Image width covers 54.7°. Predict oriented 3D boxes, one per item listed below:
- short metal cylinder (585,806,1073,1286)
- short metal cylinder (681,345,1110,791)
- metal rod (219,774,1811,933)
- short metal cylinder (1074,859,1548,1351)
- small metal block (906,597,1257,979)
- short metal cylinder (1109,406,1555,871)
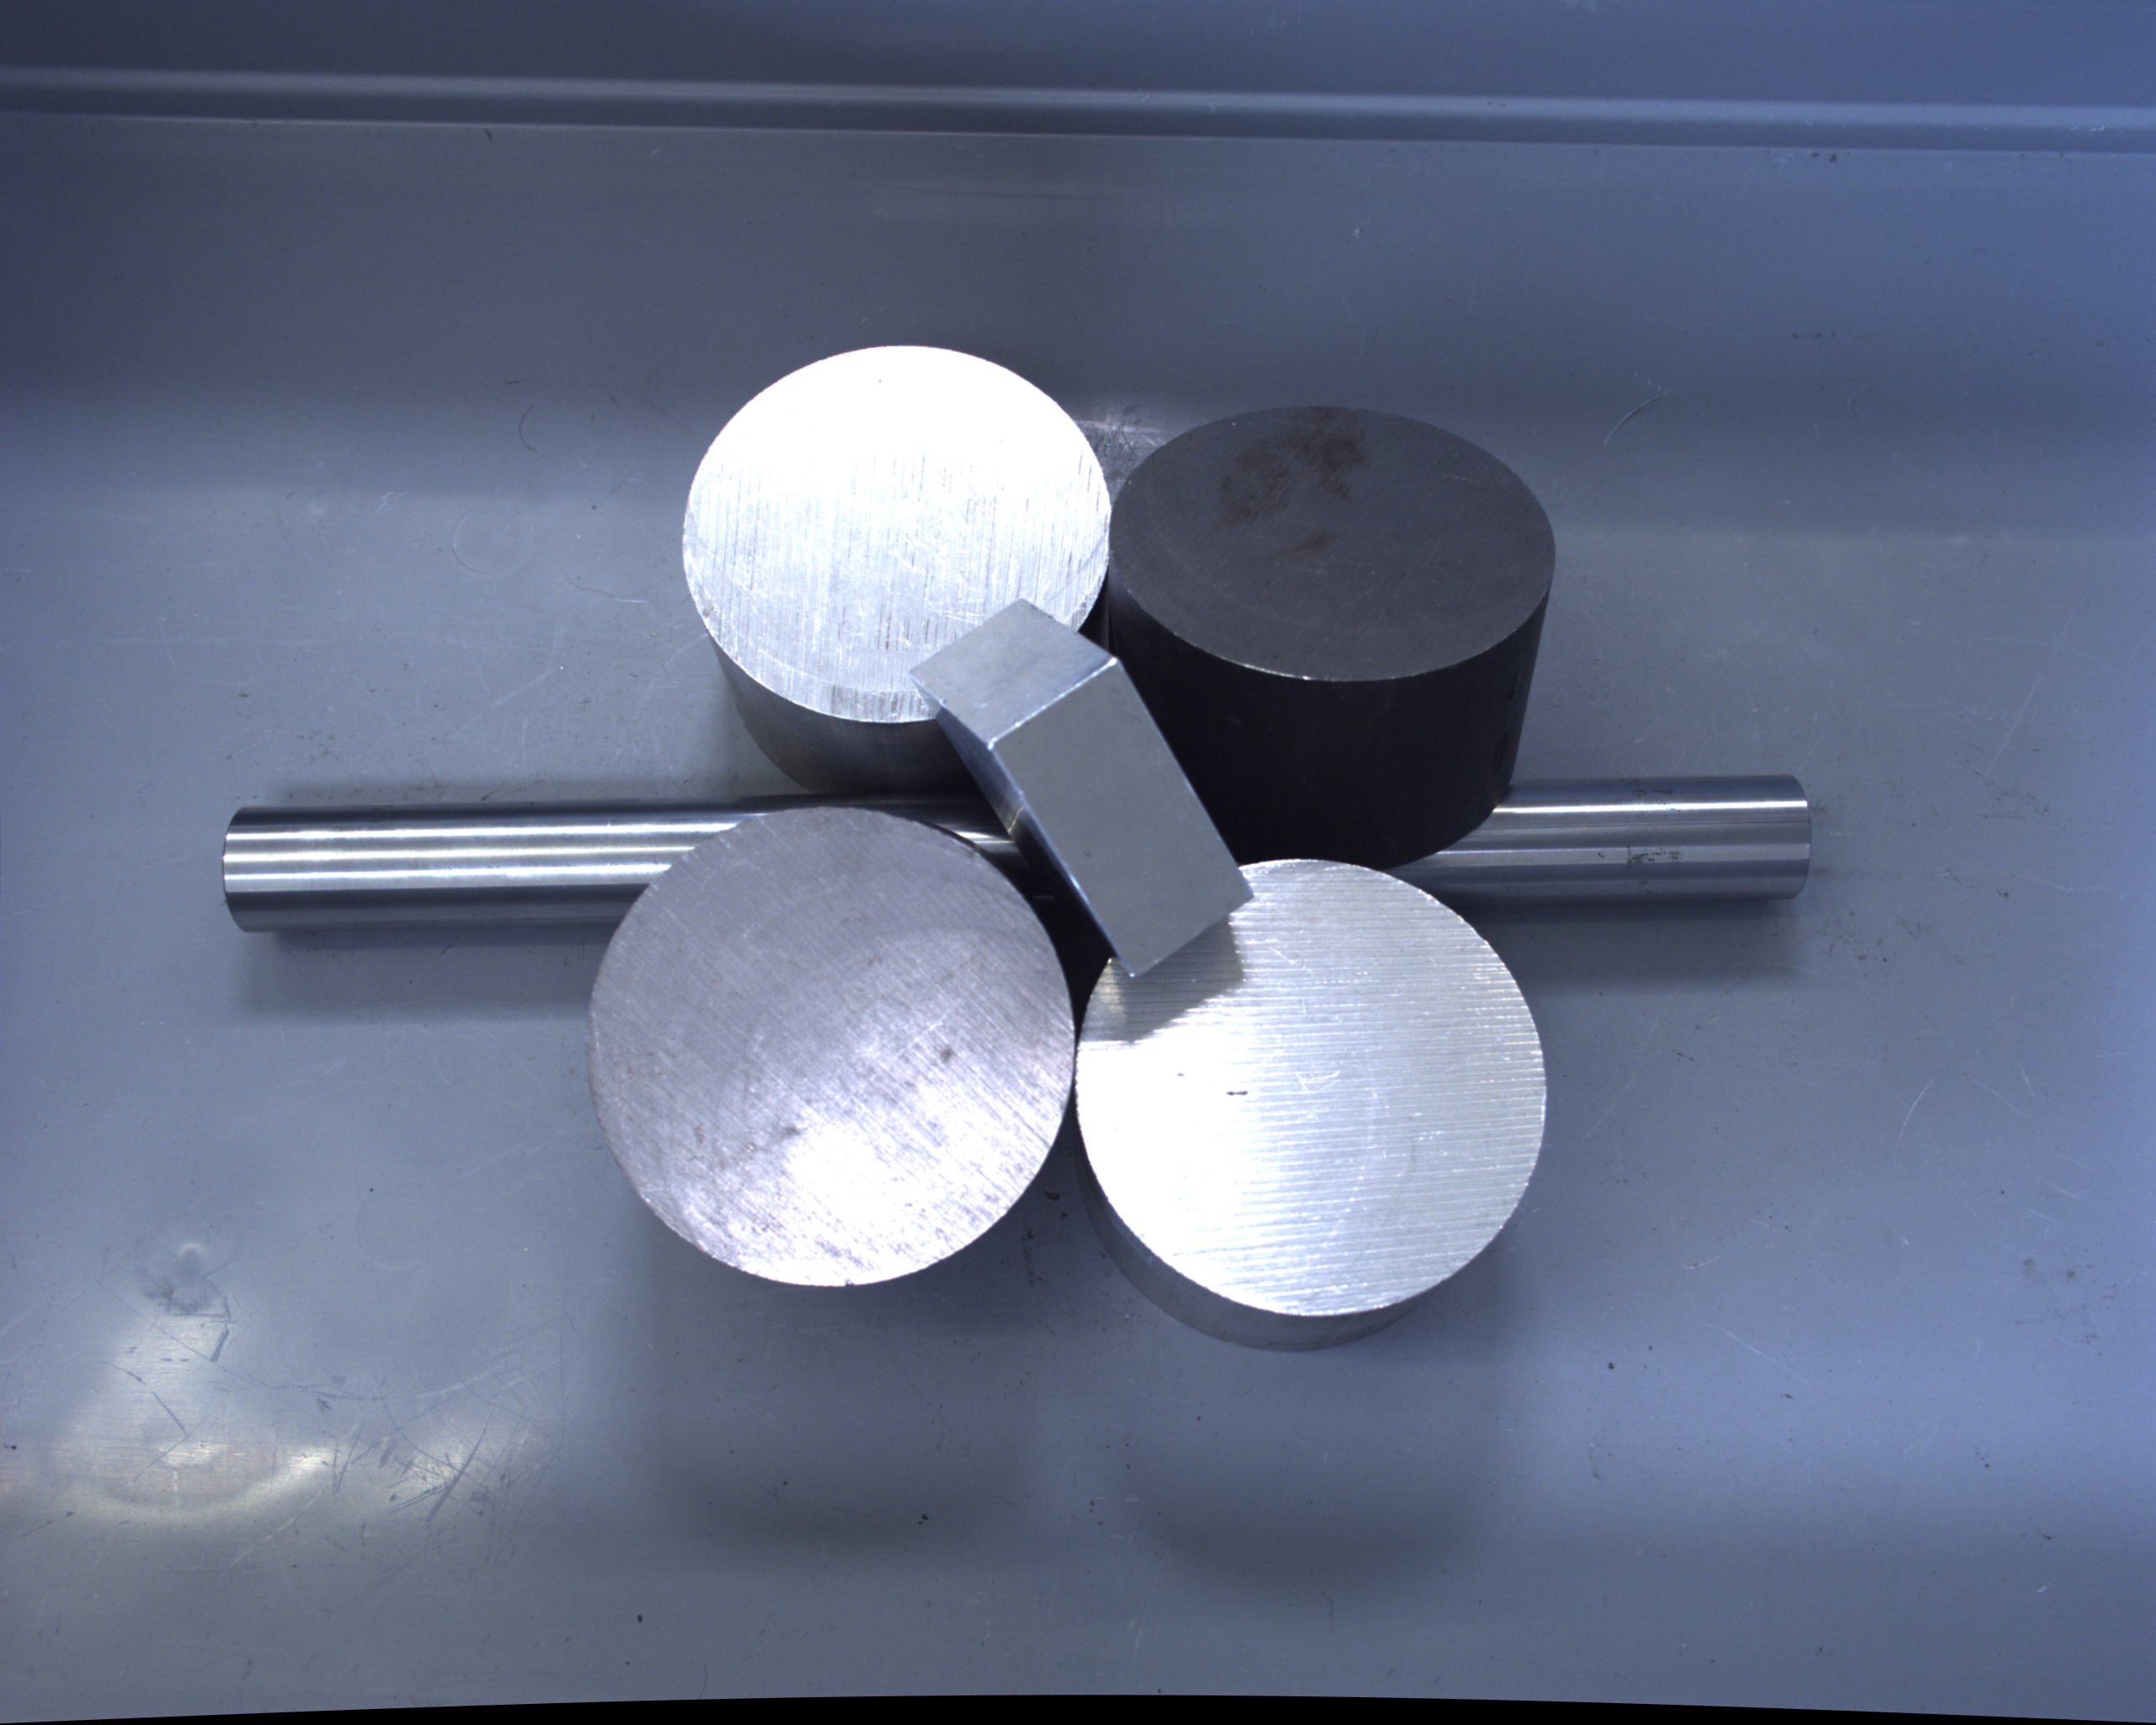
[{"bbox_3d":[-0.041,0.030,0.370,0.081,0.050,0.079,0,90,-1],"label":"short metal cylinder"},{"bbox_3d":[-0.034,-0.054,0.414,0.081,0.050,0.080,0,70,0],"label":"short metal cylinder"},{"bbox_3d":[-0.011,-0.002,0.408,0.302,0.025,0.025,-1,70,-1],"label":"metal rod"},{"bbox_3d":[0.040,0.045,0.378,0.081,0.050,0.080,0,70,0],"label":"short metal cylinder"},{"bbox_3d":[0.000,-0.014,0.362,0.025,0.050,0.050,-35,116,-6],"label":"small metal block"},{"bbox_3d":[0.046,-0.043,0.396,0.081,0.050,0.080,0,47,0],"label":"short metal cylinder"}]
